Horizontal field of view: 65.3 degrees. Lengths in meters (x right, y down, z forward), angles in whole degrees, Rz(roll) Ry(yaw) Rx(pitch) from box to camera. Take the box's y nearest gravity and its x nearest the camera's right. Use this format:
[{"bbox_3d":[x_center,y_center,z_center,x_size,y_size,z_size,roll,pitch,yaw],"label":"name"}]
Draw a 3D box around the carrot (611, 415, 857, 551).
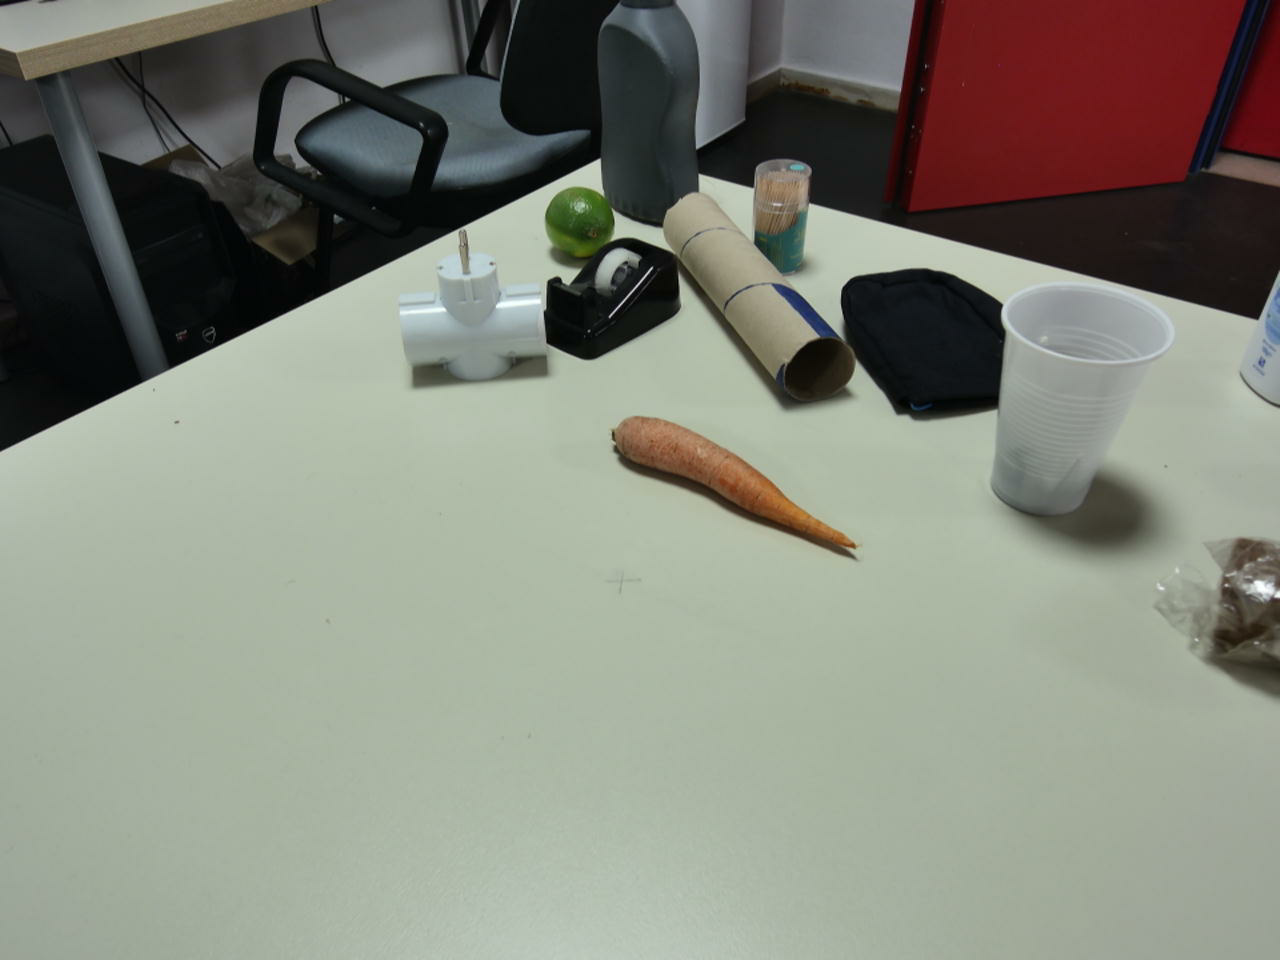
[{"bbox_3d":[0.049,-0.002,0.549,0.163,0.029,0.031,25,44,29],"label":"carrot"}]
